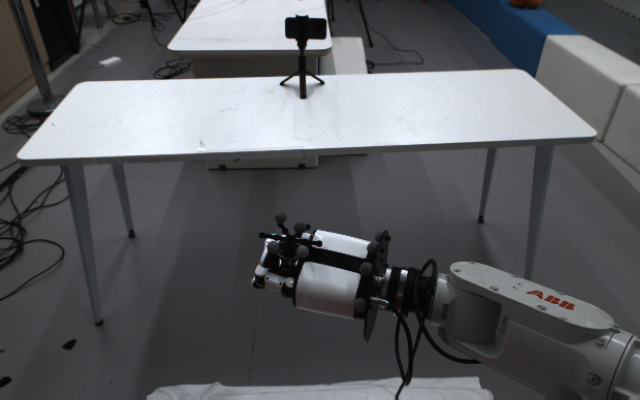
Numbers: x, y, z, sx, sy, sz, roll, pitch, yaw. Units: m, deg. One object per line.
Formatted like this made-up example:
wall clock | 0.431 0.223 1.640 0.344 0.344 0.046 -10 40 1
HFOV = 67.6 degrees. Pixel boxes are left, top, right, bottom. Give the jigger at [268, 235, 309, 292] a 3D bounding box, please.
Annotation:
jigger | -0.045 0.098 0.704 0.043 0.071 0.043 7 32 -4
